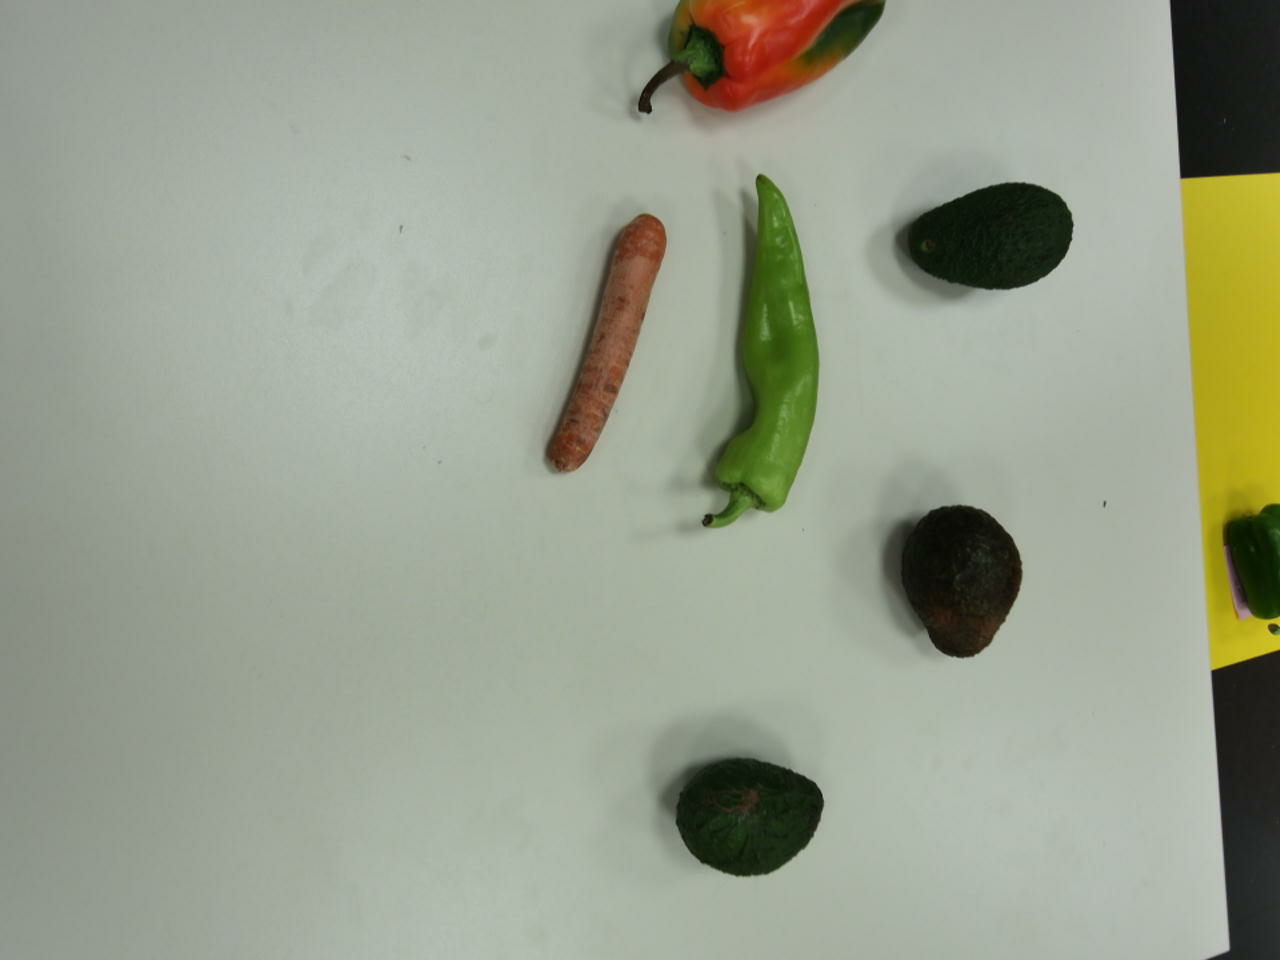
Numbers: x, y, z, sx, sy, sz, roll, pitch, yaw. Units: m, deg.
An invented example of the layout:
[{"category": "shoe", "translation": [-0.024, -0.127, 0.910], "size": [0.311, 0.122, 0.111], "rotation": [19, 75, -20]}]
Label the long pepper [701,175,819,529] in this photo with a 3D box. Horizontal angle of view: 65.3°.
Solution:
[{"category": "long pepper", "translation": [0.077, -0.068, 0.577], "size": [0.065, 0.045, 0.204], "rotation": [12, 86, -22]}]
